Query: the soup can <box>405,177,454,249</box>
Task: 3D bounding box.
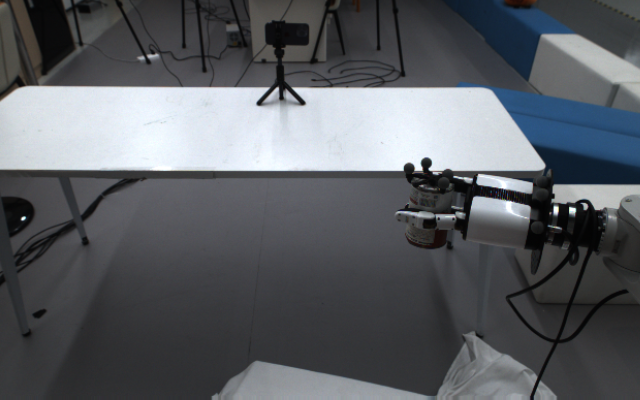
[{"bbox_3d":[0.175,0.017,0.770,0.067,0.101,0.067,1,25,0],"label":"soup can"}]
